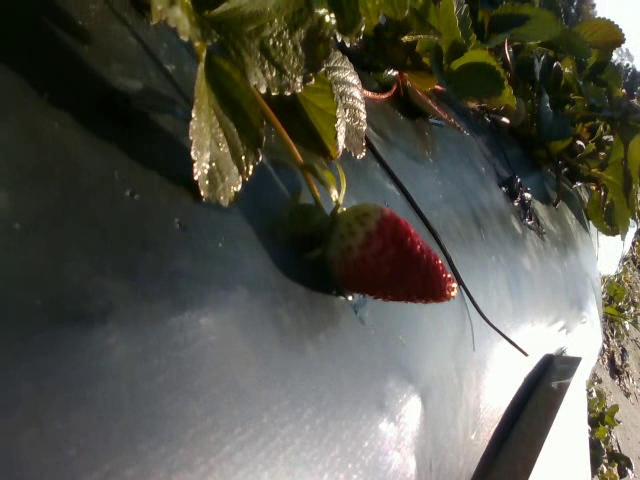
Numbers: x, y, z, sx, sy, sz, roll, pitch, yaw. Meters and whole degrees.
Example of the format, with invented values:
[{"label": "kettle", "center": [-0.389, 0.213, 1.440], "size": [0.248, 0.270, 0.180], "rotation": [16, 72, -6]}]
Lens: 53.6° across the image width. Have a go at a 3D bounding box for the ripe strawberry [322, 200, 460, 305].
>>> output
[{"label": "ripe strawberry", "center": [0.020, 0.006, 0.162], "size": [0.041, 0.031, 0.028], "rotation": [26, 45, 10]}]
